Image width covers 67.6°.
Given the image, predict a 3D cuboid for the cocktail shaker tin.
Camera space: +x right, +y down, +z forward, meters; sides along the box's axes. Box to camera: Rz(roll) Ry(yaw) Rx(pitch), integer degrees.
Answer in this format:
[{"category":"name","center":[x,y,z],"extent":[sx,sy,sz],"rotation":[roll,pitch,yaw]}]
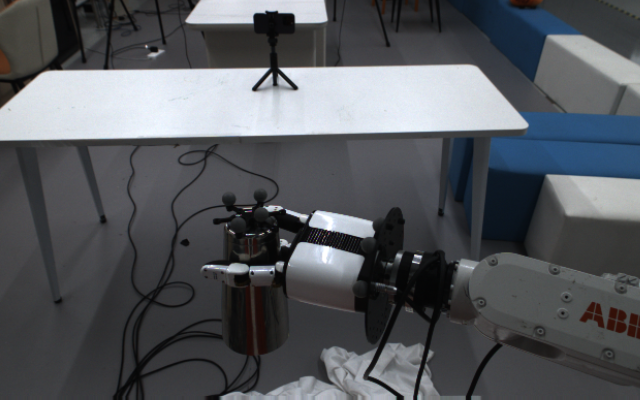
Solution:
[{"category":"cocktail shaker tin","center":[-0.084,0.103,0.626],"extent":[0.093,0.170,0.093],"rotation":[1,26,-1]}]
